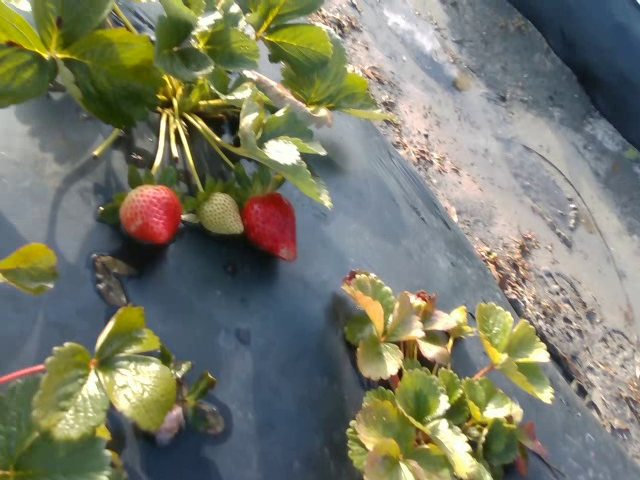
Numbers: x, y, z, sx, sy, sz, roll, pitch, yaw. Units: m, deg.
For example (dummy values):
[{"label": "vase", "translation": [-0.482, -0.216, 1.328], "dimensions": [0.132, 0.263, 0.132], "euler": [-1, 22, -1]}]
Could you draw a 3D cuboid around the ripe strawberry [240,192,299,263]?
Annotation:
[{"label": "ripe strawberry", "translation": [-0.034, -0.007, 0.480], "dimensions": [0.048, 0.065, 0.050], "euler": [-22, -14, -1]}]
